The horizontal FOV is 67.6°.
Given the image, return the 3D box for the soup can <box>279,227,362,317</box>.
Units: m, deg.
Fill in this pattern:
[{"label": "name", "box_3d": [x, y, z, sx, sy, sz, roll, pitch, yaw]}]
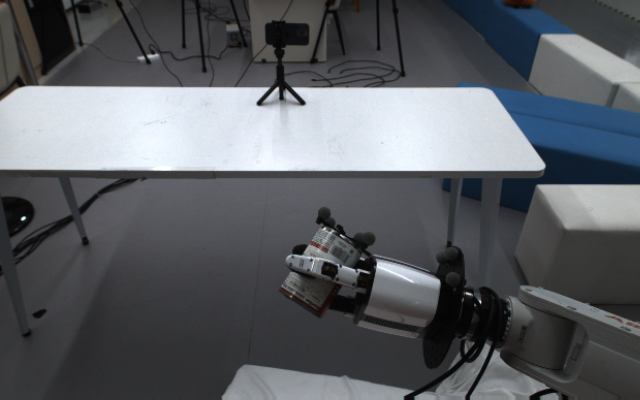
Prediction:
[{"label": "soup can", "box_3d": [0.002, 0.092, 0.630, 0.067, 0.067, 0.101, 26, 76, 31]}]
